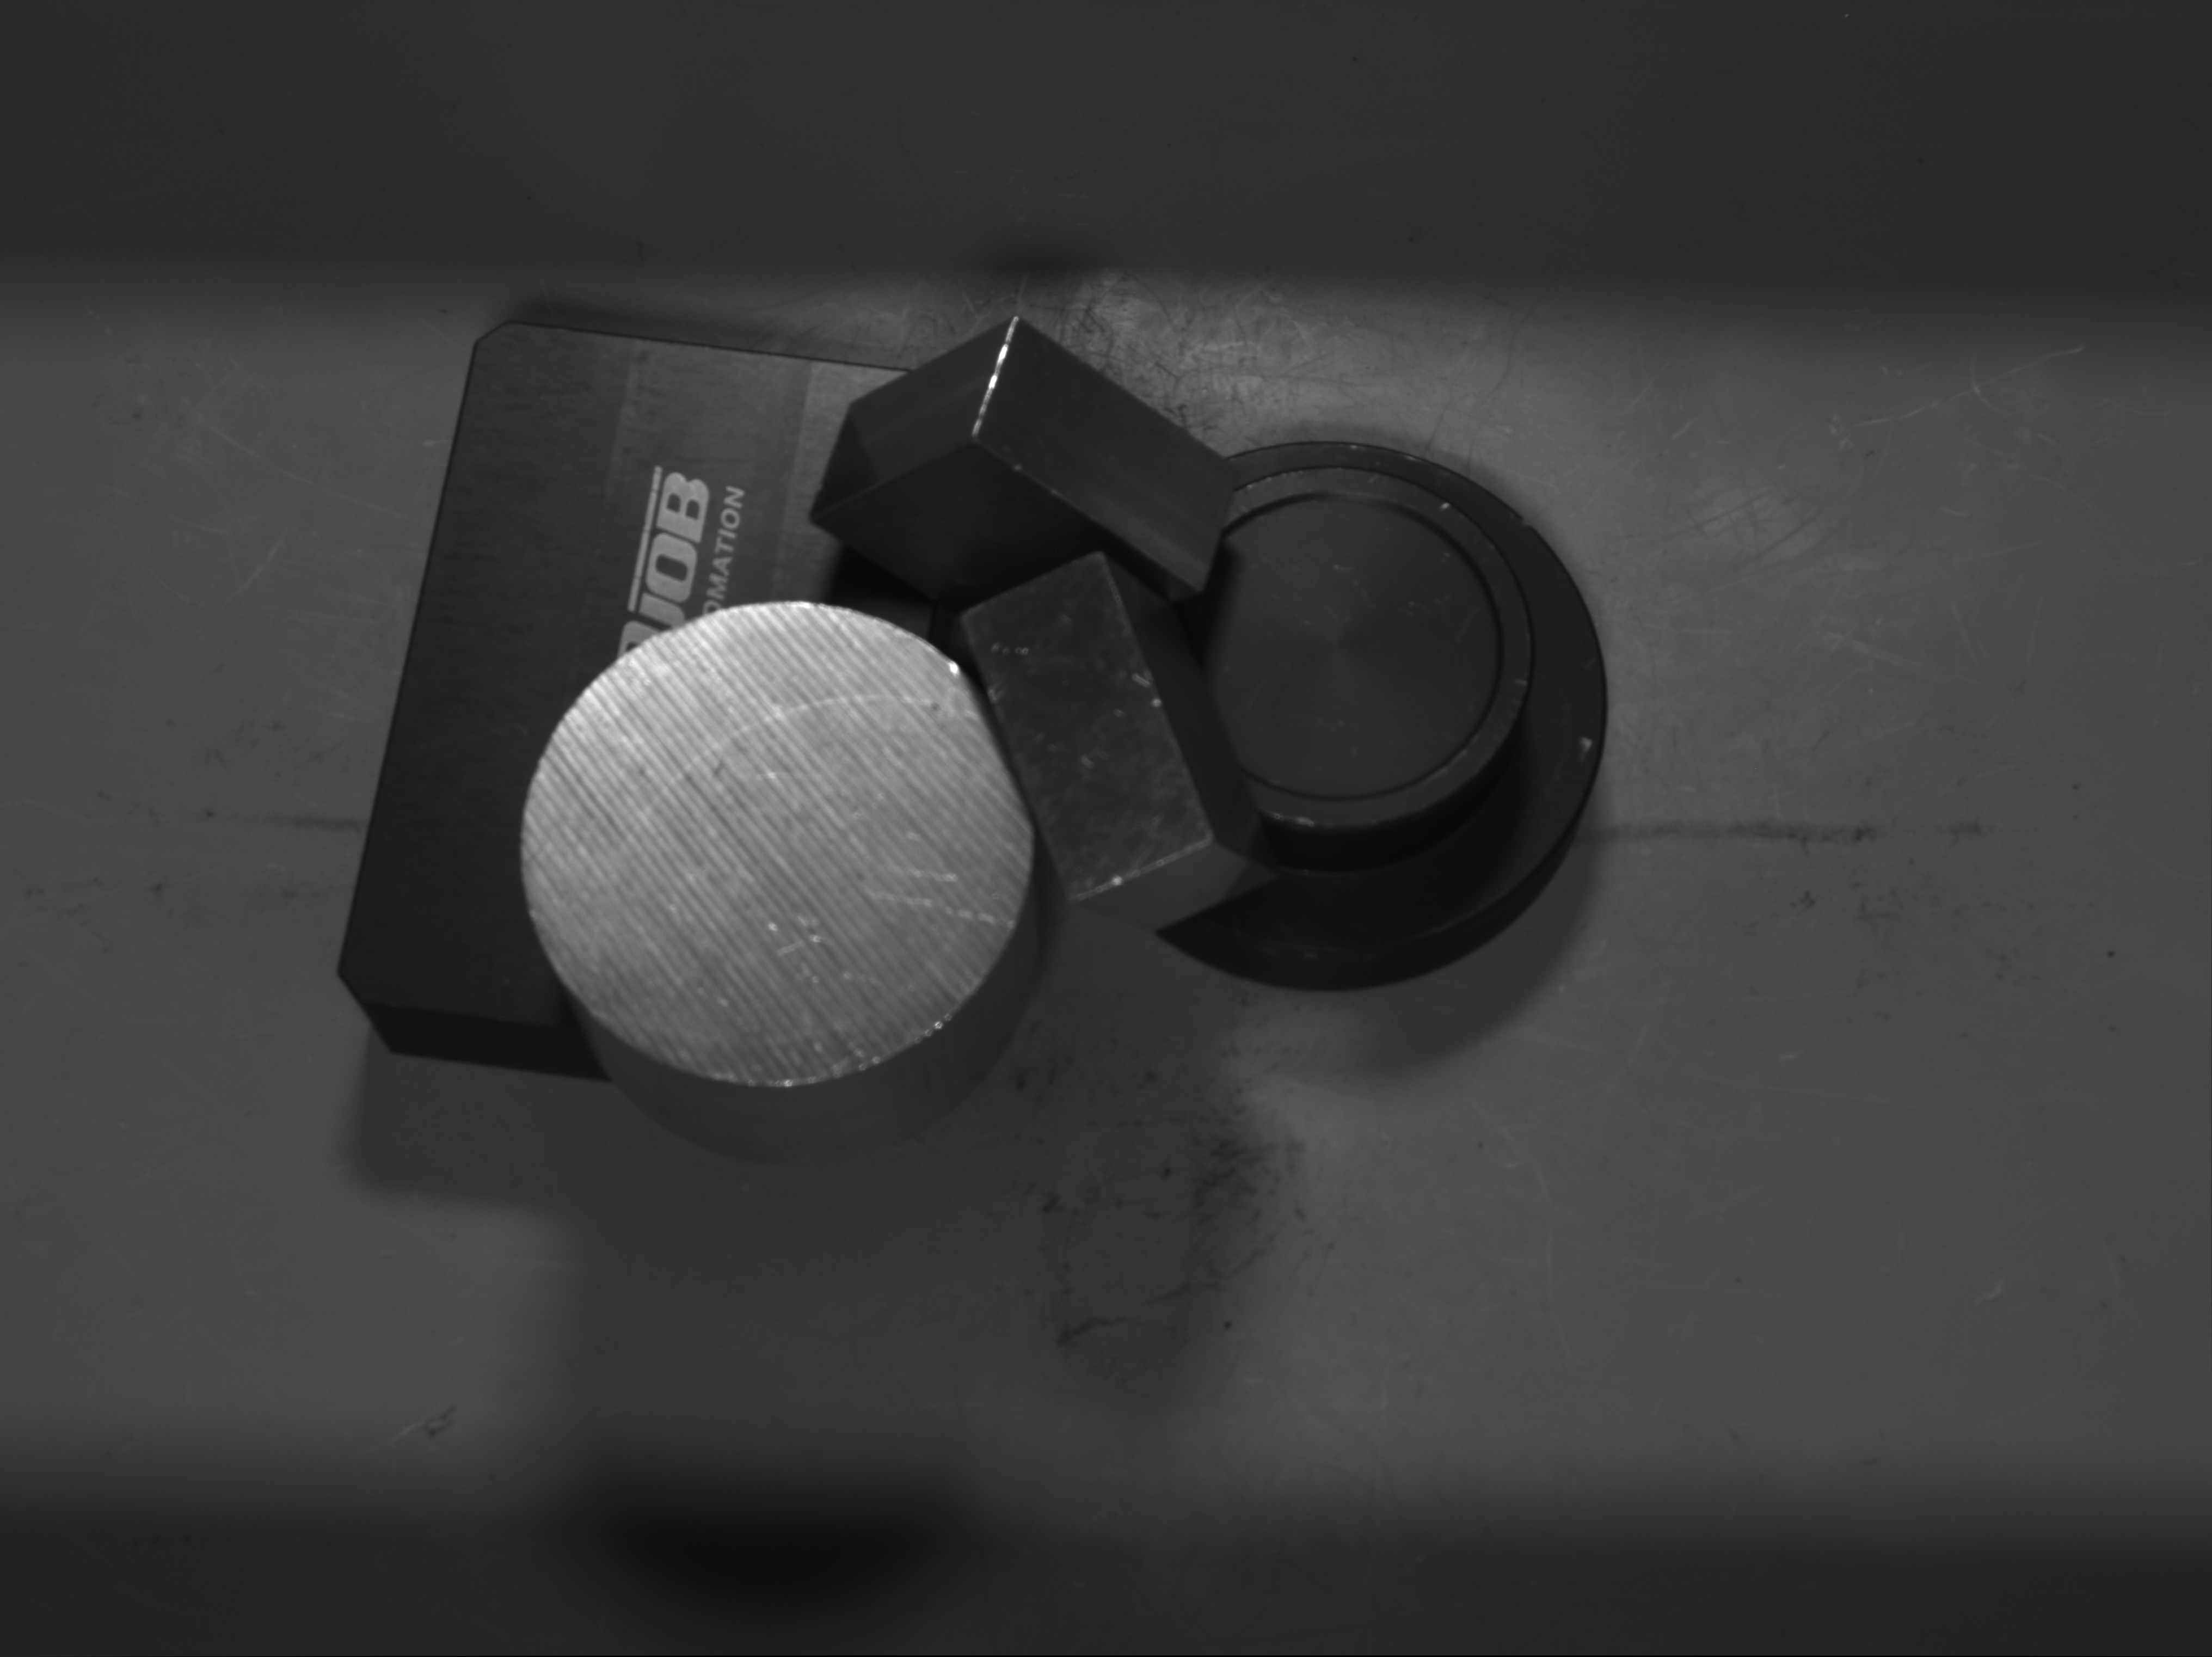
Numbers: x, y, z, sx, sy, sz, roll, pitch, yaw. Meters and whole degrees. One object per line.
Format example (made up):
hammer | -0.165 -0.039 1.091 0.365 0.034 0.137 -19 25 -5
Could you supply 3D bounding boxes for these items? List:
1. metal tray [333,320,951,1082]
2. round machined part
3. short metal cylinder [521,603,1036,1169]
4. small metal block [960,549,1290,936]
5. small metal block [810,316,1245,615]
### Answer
metal tray | -0.077 -0.021 0.646 0.090 0.030 0.130 7 70 3
round machined part | 0.040 -0.024 0.643 0.098 0.042 0.098 0 70 0
short metal cylinder | -0.051 0.010 0.595 0.080 0.050 0.080 0 70 0
small metal block | 0.004 -0.013 0.593 0.025 0.050 0.050 -24 77 11
small metal block | -0.014 -0.056 0.624 0.050 0.050 0.025 31 62 -28
